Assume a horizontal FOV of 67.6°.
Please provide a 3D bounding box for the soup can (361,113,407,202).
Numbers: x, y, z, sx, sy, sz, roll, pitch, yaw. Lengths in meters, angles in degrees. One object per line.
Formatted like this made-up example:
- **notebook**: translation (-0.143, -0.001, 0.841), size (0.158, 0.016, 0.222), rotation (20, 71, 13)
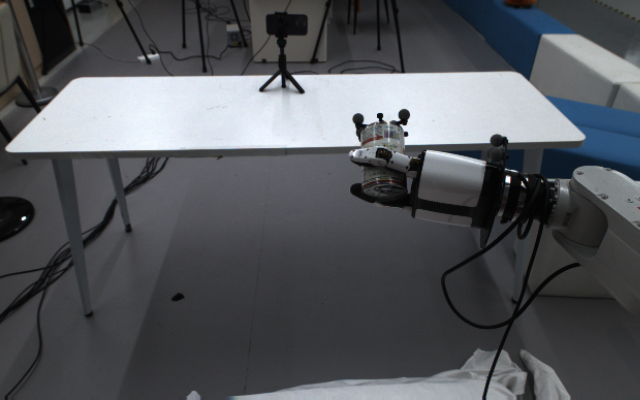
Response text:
- **soup can**: translation (0.095, -0.057, 0.718), size (0.067, 0.067, 0.101), rotation (2, 68, -1)
